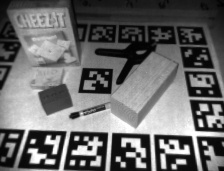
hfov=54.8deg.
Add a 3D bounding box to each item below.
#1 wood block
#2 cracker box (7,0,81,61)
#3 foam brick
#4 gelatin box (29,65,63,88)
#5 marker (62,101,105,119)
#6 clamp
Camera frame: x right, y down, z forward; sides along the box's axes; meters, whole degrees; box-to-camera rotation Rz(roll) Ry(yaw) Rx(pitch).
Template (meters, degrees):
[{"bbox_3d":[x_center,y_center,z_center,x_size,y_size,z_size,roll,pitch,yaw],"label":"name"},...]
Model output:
[{"bbox_3d":[0.083,0.003,0.620,0.089,0.091,0.207,32,60,23],"label":"wood block"},{"bbox_3d":[-0.189,-0.166,0.650,0.164,0.214,0.071,-1,56,-1],"label":"cracker box"},{"bbox_3d":[-0.170,0.034,0.622,0.078,0.051,0.052,-20,60,-11],"label":"foam brick"},{"bbox_3d":[-0.205,-0.028,0.679,0.089,0.030,0.073,1,59,2],"label":"gelatin box"},{"bbox_3d":[-0.082,0.070,0.616,0.121,0.020,0.019,-15,60,-9],"label":"marker"},{"bbox_3d":[0.054,-0.111,0.722,0.204,0.037,0.164,-25,61,-14],"label":"clamp"}]
